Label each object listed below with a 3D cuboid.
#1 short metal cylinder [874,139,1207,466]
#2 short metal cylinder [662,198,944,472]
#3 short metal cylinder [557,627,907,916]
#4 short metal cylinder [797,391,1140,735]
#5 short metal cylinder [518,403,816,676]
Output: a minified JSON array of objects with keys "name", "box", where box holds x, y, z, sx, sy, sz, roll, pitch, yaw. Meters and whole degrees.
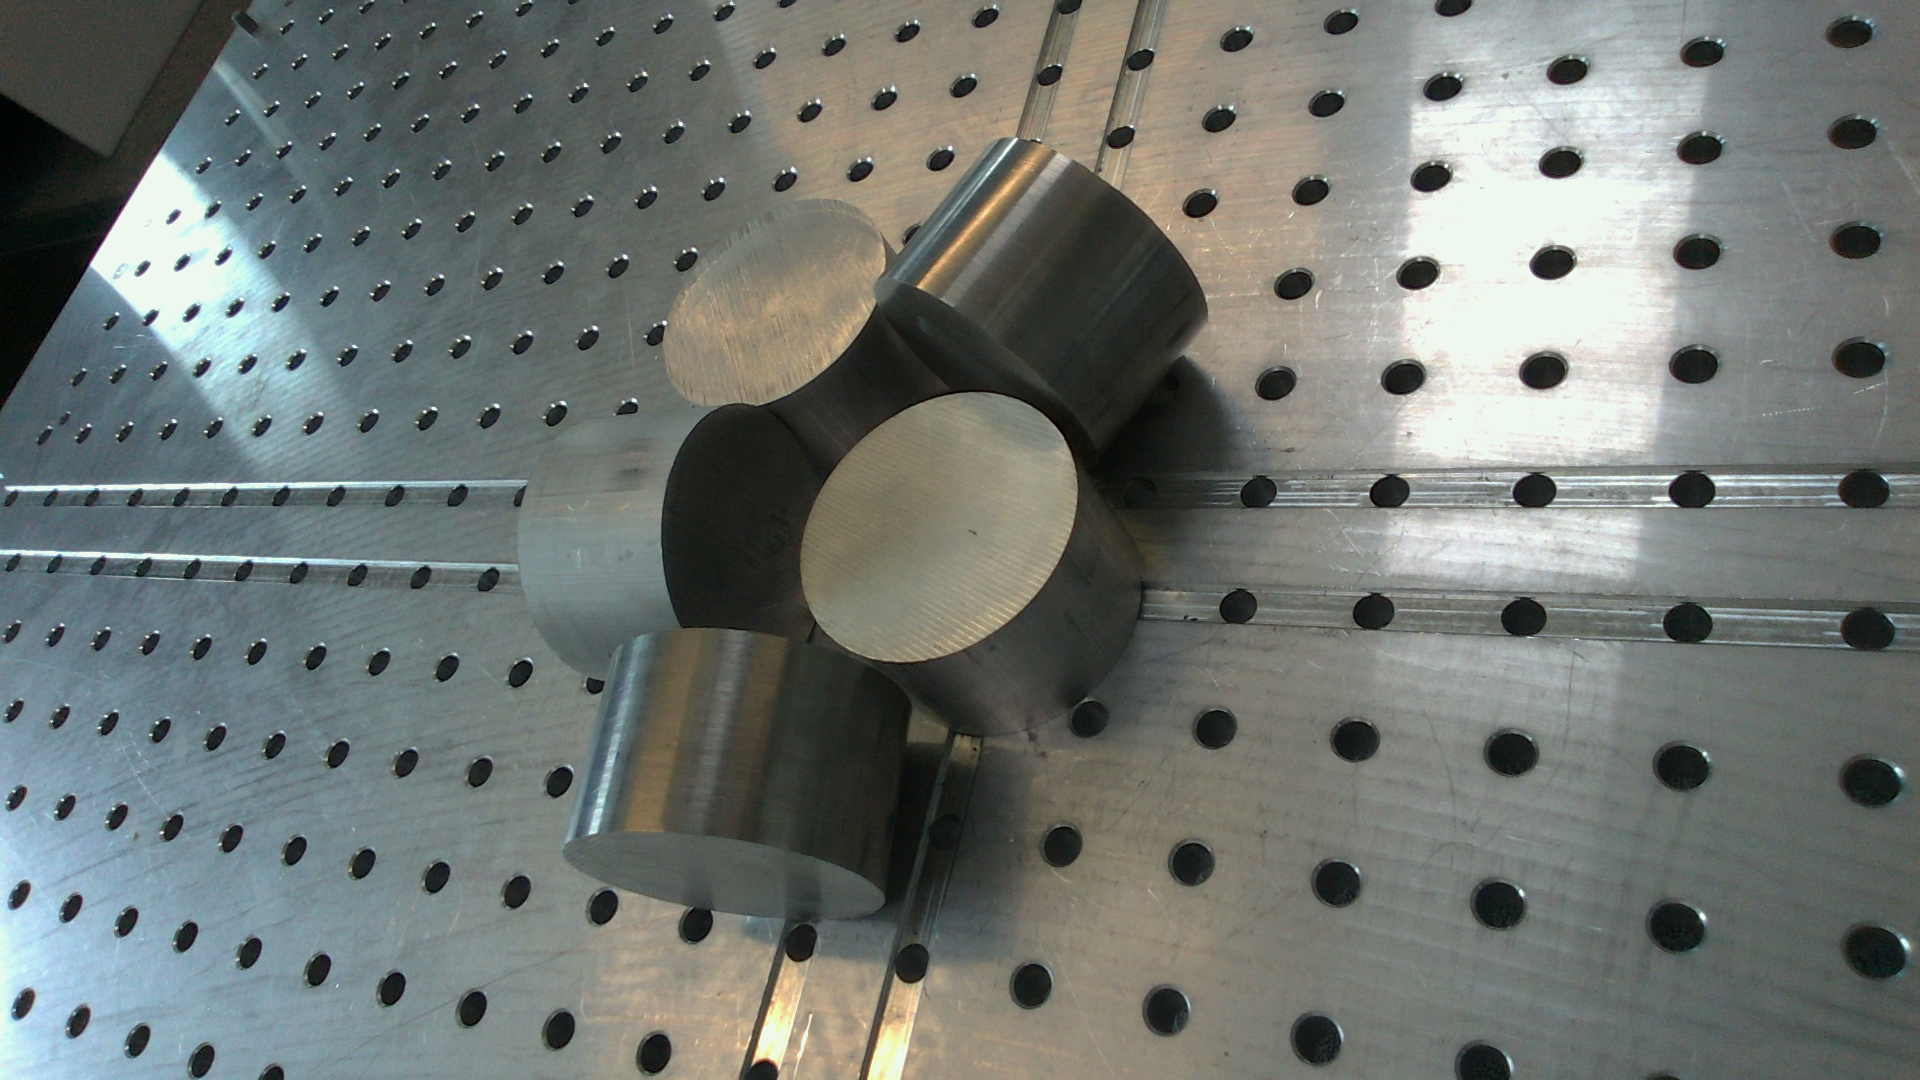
[{"name":"short metal cylinder","box":[0.022,-0.066,0.390,0.080,0.080,0.050,32,79,38]},{"name":"short metal cylinder","box":[-0.048,-0.062,0.445,0.080,0.050,0.080,-14,56,22]},{"name":"short metal cylinder","box":[-0.056,0.062,0.353,0.080,0.080,0.050,-6,59,25]},{"name":"short metal cylinder","box":[0.003,0.007,0.375,0.080,0.050,0.080,-13,57,21]},{"name":"short metal cylinder","box":[-0.082,0.002,0.406,0.050,0.080,0.080,-2,61,27]}]
